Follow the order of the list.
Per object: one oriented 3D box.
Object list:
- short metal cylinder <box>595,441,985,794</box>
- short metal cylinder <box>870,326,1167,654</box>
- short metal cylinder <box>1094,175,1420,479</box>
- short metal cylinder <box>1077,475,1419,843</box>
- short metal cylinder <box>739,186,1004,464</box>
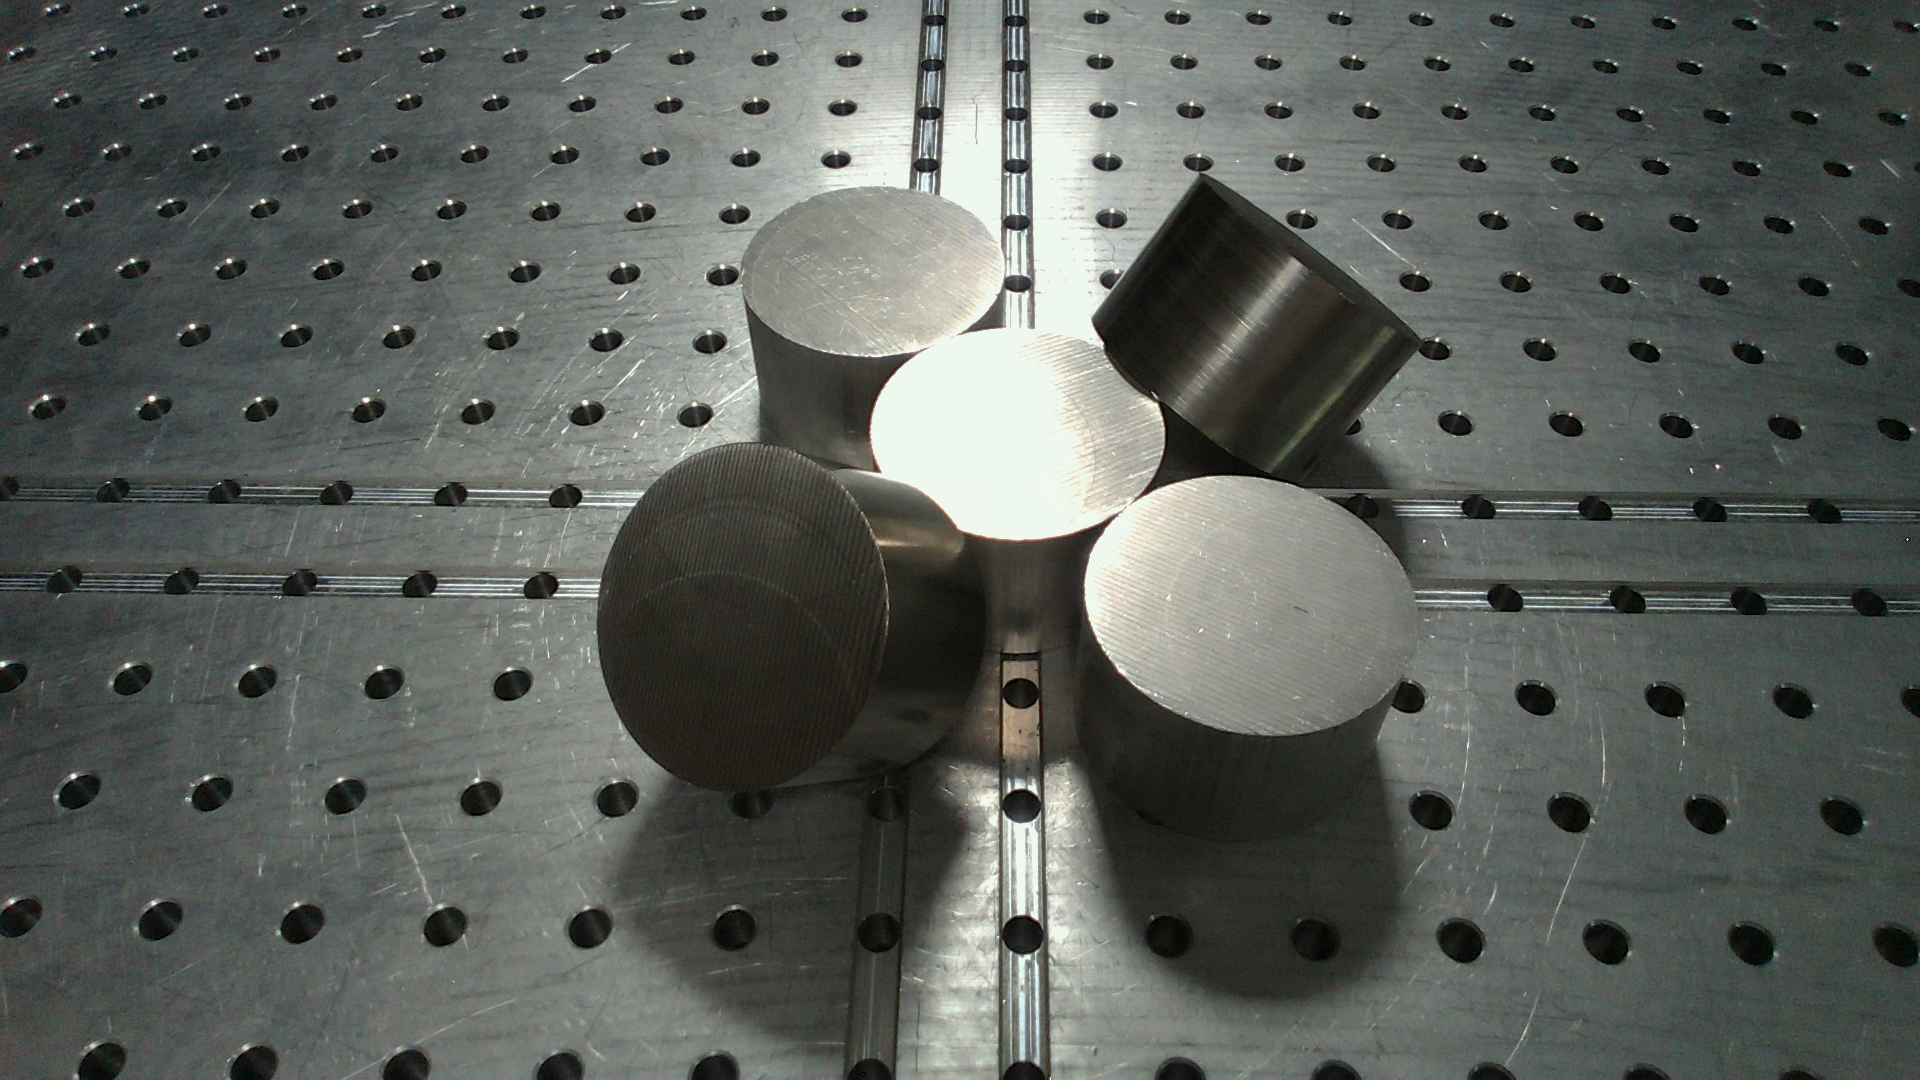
[{"bbox_3d":[-0.041,0.019,0.335,0.080,0.050,0.080,-3,83,26],"label":"short metal cylinder"},{"bbox_3d":[0.016,-0.015,0.391,0.080,0.050,0.080,0,50,0],"label":"short metal cylinder"},{"bbox_3d":[0.087,-0.062,0.404,0.080,0.050,0.080,32,22,-14],"label":"short metal cylinder"},{"bbox_3d":[0.071,0.030,0.353,0.080,0.050,0.080,0,50,0],"label":"short metal cylinder"},{"bbox_3d":[-0.026,-0.067,0.434,0.080,0.050,0.080,0,50,0],"label":"short metal cylinder"}]
